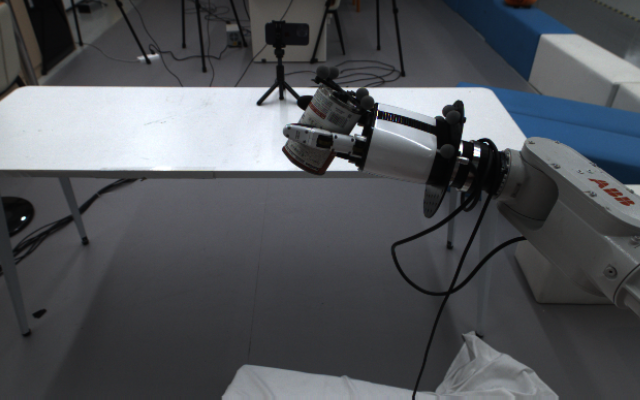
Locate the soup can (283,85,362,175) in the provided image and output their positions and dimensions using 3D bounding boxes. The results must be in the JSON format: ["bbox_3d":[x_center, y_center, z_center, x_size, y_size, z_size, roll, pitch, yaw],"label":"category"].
[{"bbox_3d":[0.005,-0.092,0.643,0.067,0.101,0.067,28,22,-12],"label":"soup can"}]
